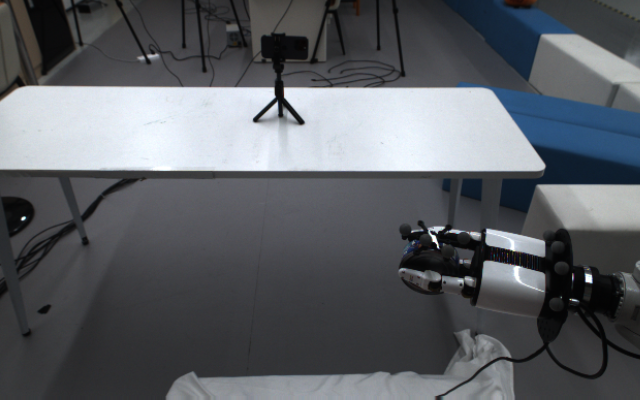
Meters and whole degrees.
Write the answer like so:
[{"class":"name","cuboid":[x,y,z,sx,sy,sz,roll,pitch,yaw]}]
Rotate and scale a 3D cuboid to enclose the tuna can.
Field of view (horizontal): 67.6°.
[{"class":"tuna can","cuboid":[0.162,0.093,0.706,0.085,0.085,0.034,10,34,11]}]
